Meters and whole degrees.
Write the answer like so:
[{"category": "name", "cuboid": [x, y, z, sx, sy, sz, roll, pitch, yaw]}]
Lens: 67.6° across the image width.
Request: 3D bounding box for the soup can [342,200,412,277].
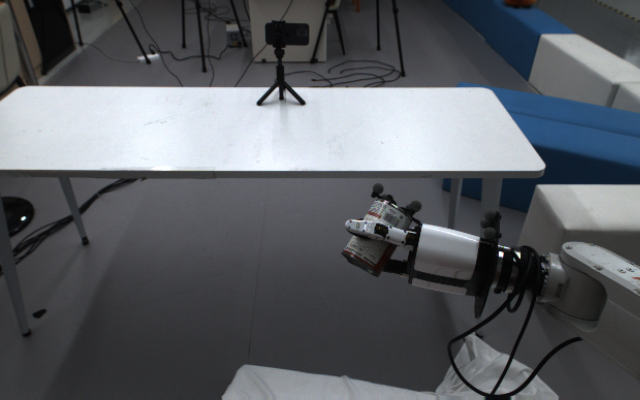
[{"category": "soup can", "cuboid": [0.088, 0.056, 0.742, 0.067, 0.067, 0.101, 27, 78, 32]}]
